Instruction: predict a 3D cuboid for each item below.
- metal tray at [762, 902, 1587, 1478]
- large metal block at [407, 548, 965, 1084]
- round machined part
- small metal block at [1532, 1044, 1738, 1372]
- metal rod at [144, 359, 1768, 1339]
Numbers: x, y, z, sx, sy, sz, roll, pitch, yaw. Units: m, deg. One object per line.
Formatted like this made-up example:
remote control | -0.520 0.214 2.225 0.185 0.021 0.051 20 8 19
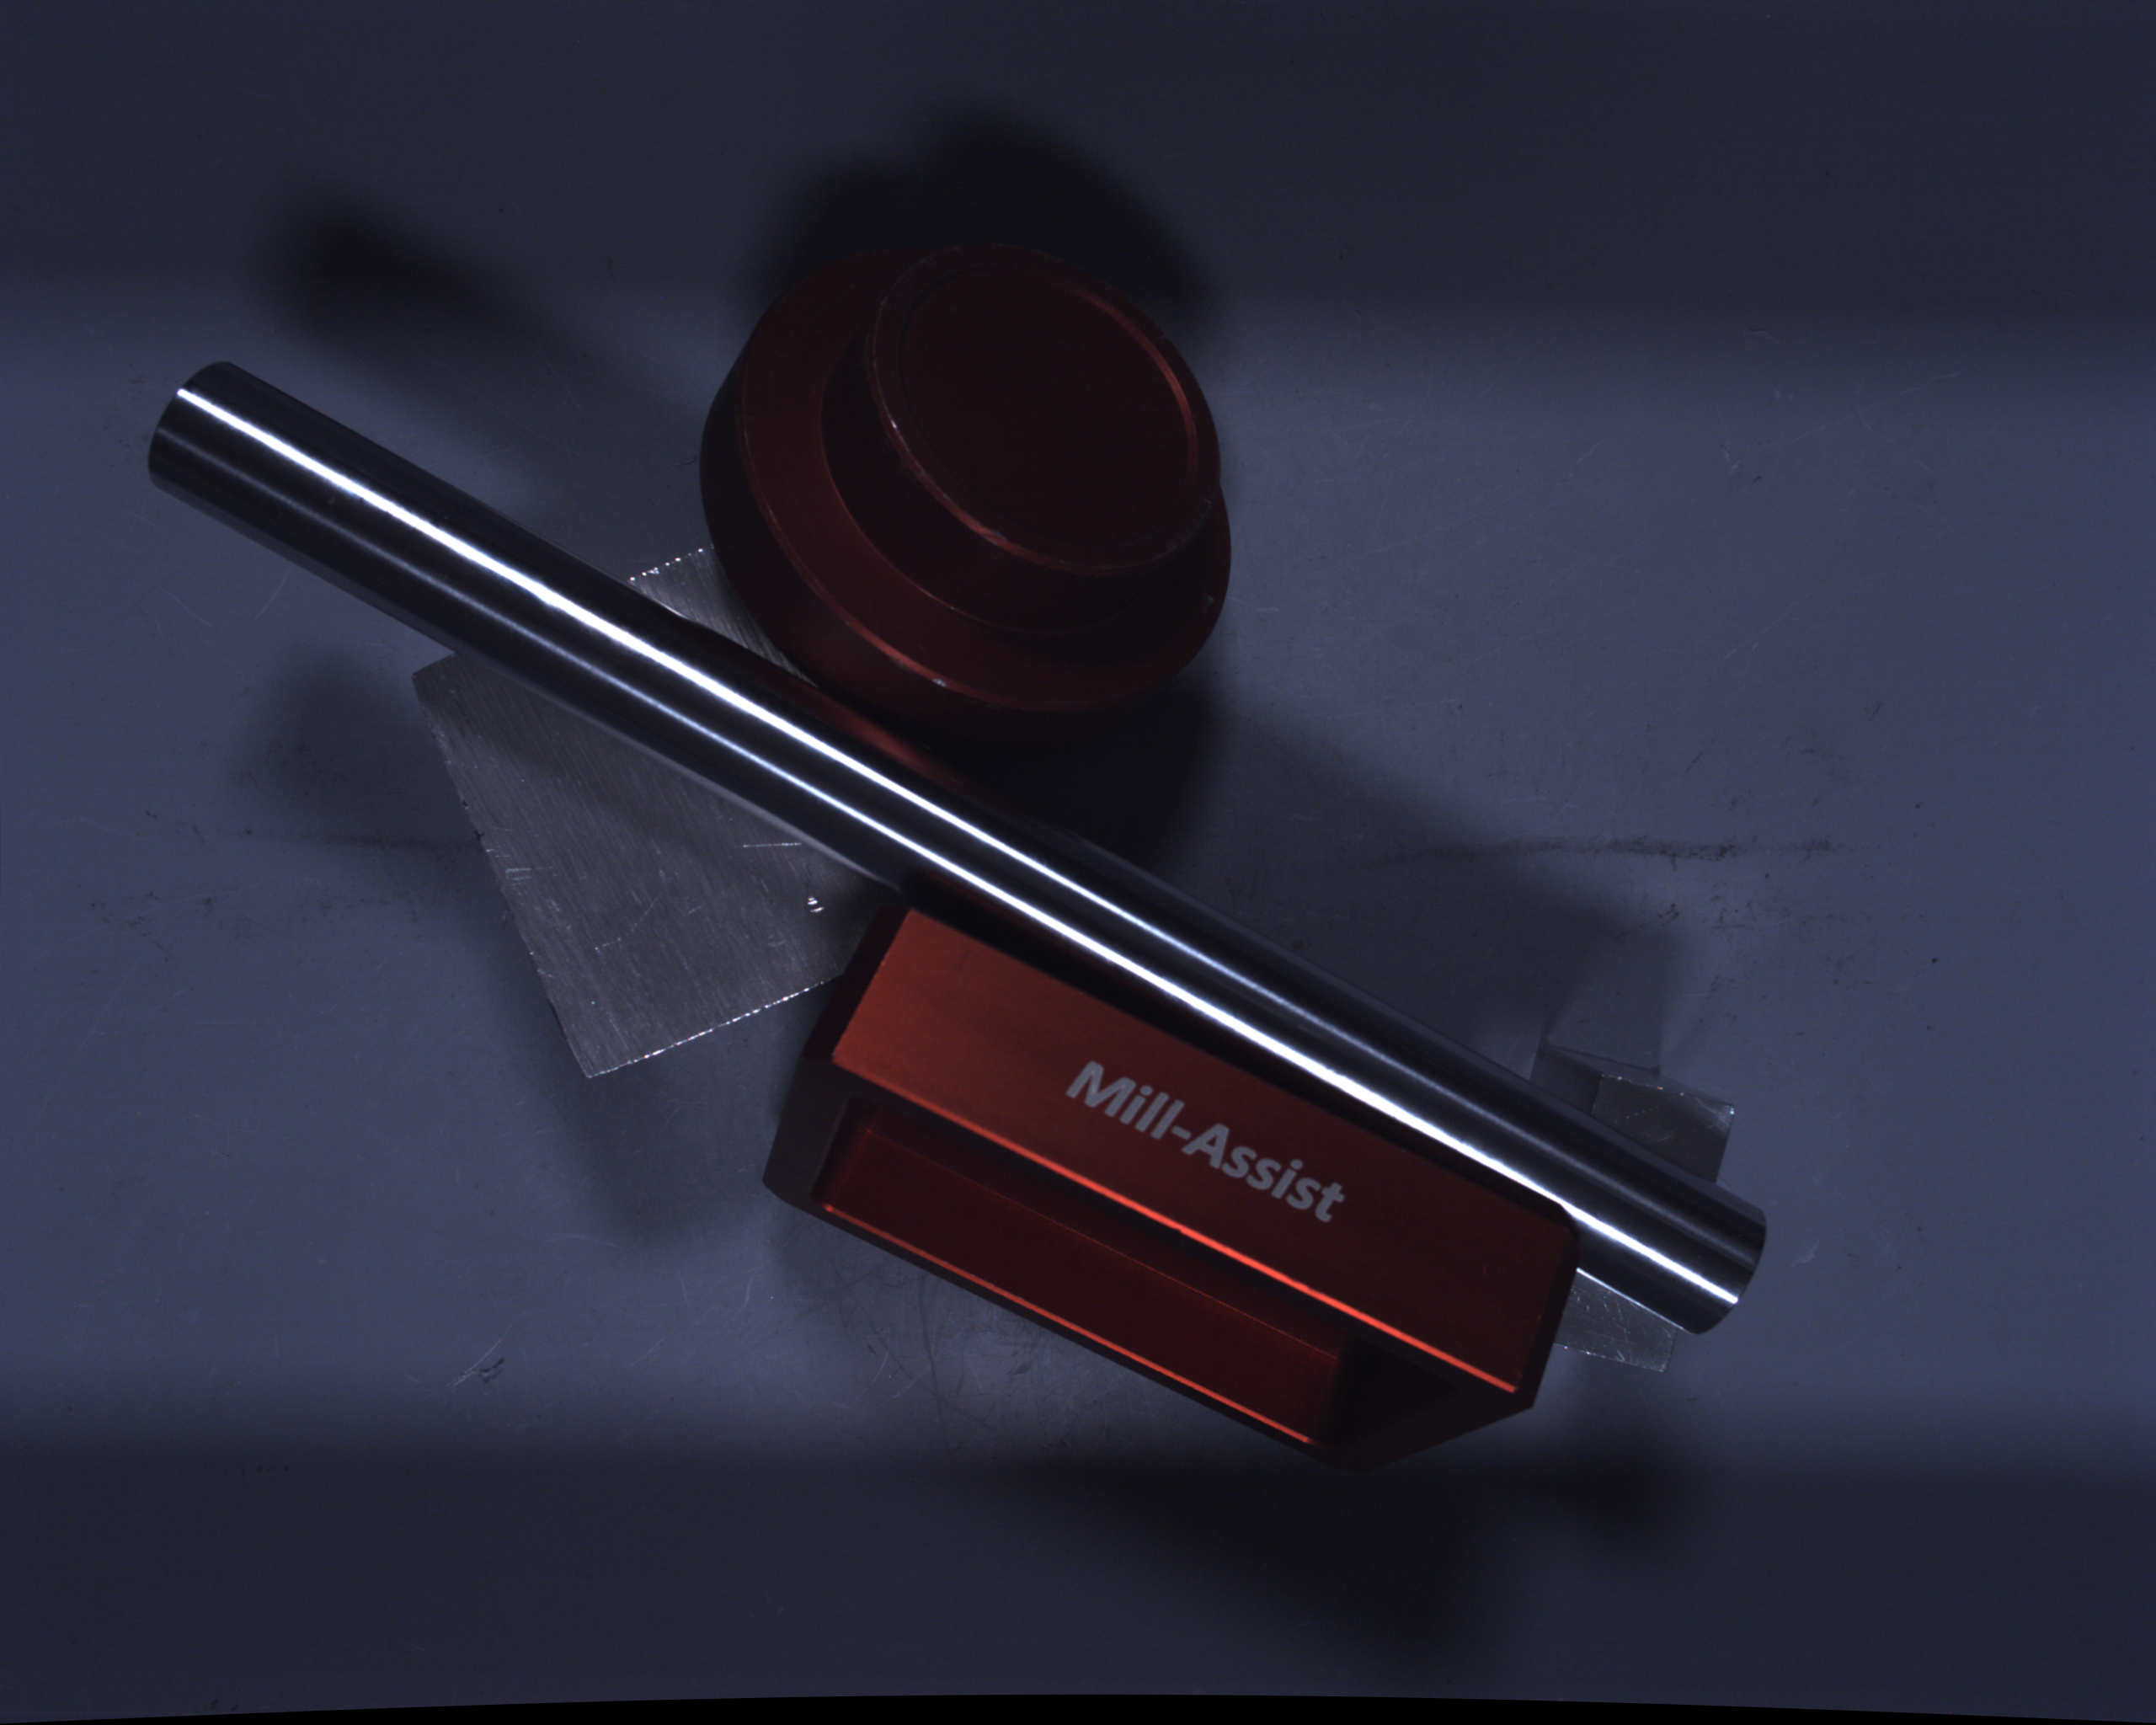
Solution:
metal tray | 0.012 0.063 0.374 0.131 0.090 0.030 26 63 -1
large metal block | -0.067 -0.013 0.396 0.080 0.050 0.080 -22 90 -1
round machined part | -0.014 -0.071 0.375 0.099 0.042 0.098 14 59 -25
small metal block | 0.100 0.064 0.399 0.025 0.050 0.050 15 90 0
metal rod | -0.020 -0.002 0.358 0.301 0.025 0.025 29 90 -1
